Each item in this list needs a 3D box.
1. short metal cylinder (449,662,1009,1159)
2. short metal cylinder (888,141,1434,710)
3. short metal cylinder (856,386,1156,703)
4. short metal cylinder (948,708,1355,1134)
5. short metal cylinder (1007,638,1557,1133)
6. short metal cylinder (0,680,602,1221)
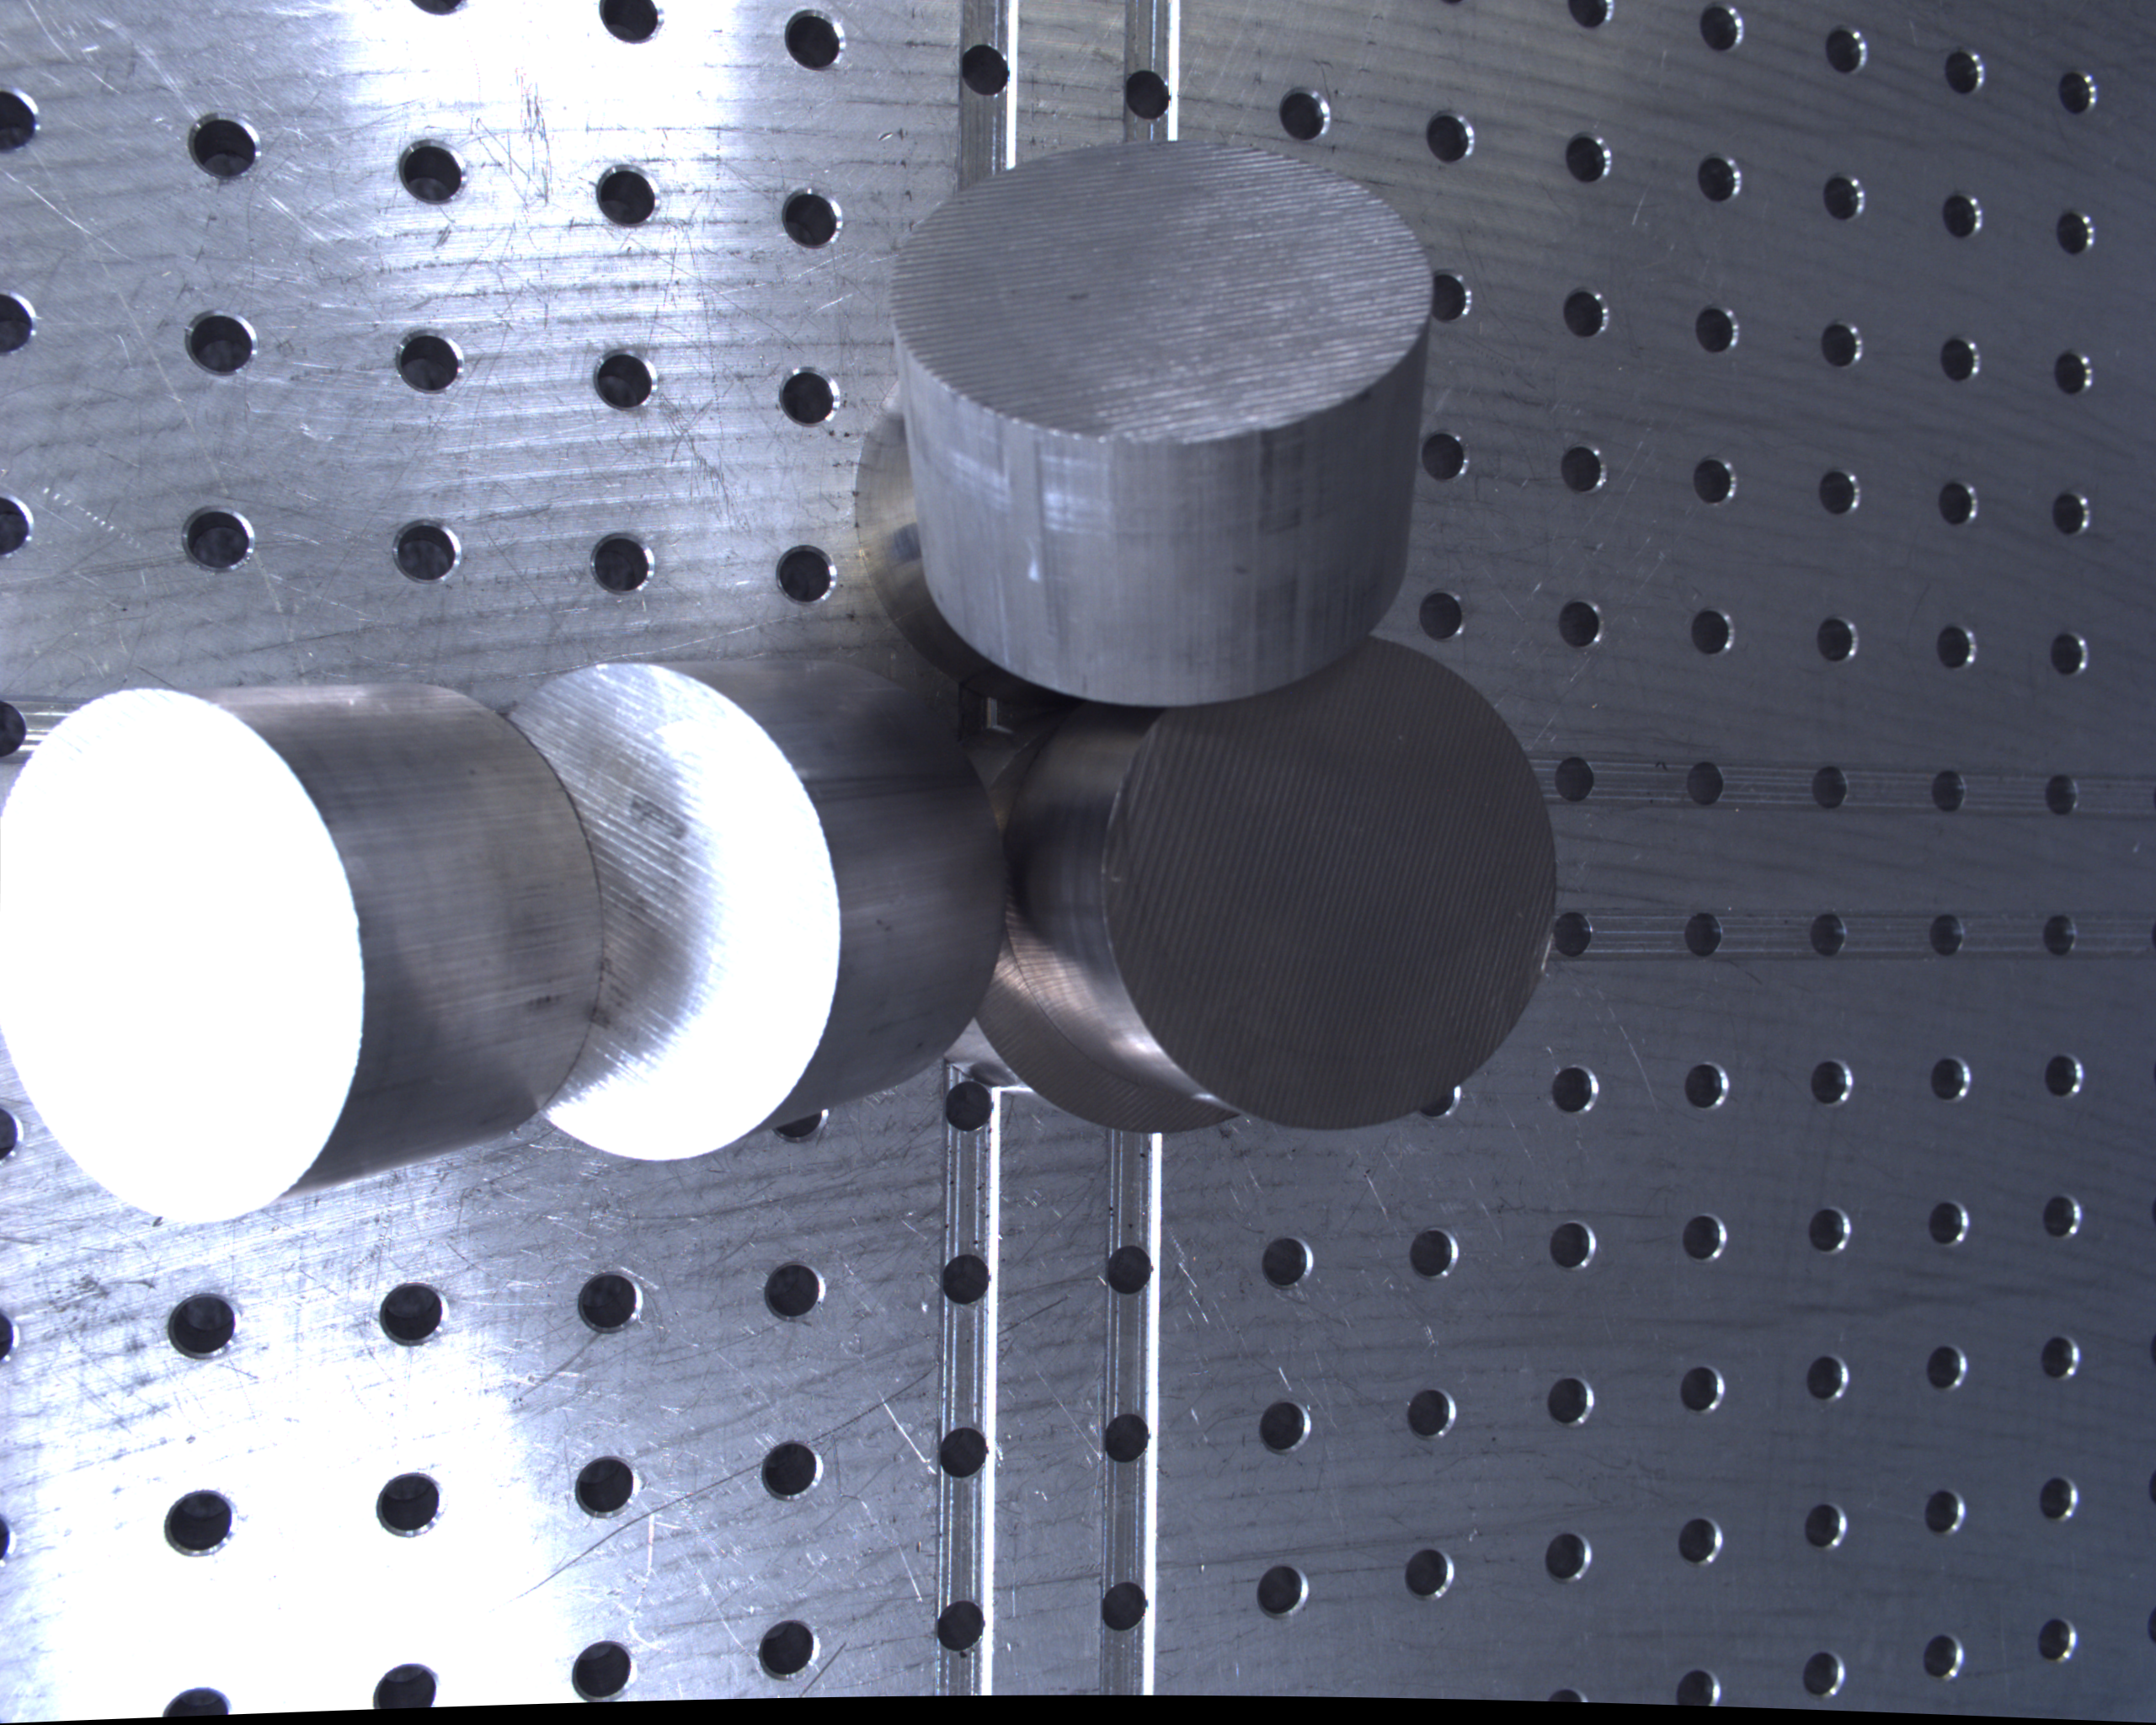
[{"bbox_3d":[-0.059,0.006,0.354,0.050,0.080,0.079,-11,95,-61],"label":"short metal cylinder"},{"bbox_3d":[0.013,-0.070,0.327,0.081,0.080,0.050,-25,142,-18],"label":"short metal cylinder"},{"bbox_3d":[0.002,-0.071,0.399,0.081,0.050,0.079,0,90,-20],"label":"short metal cylinder"},{"bbox_3d":[0.007,0.009,0.401,0.081,0.050,0.079,0,90,-20],"label":"short metal cylinder"},{"bbox_3d":[0.033,0.003,0.356,0.081,0.050,0.079,0,90,-20],"label":"short metal cylinder"},{"bbox_3d":[-0.124,0.011,0.331,0.050,0.080,0.079,-12,96,-62],"label":"short metal cylinder"}]
